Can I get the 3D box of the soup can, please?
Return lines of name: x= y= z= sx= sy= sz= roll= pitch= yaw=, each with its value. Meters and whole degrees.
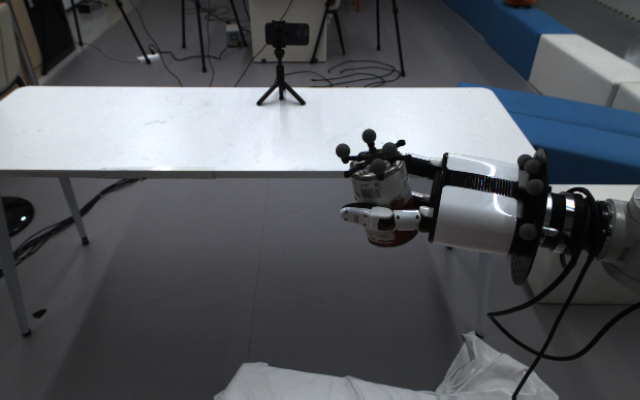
soup can: x=0.080 y=-0.003 z=0.589 sx=0.067 sy=0.101 sz=0.067 roll=-13 pitch=31 yaw=8
